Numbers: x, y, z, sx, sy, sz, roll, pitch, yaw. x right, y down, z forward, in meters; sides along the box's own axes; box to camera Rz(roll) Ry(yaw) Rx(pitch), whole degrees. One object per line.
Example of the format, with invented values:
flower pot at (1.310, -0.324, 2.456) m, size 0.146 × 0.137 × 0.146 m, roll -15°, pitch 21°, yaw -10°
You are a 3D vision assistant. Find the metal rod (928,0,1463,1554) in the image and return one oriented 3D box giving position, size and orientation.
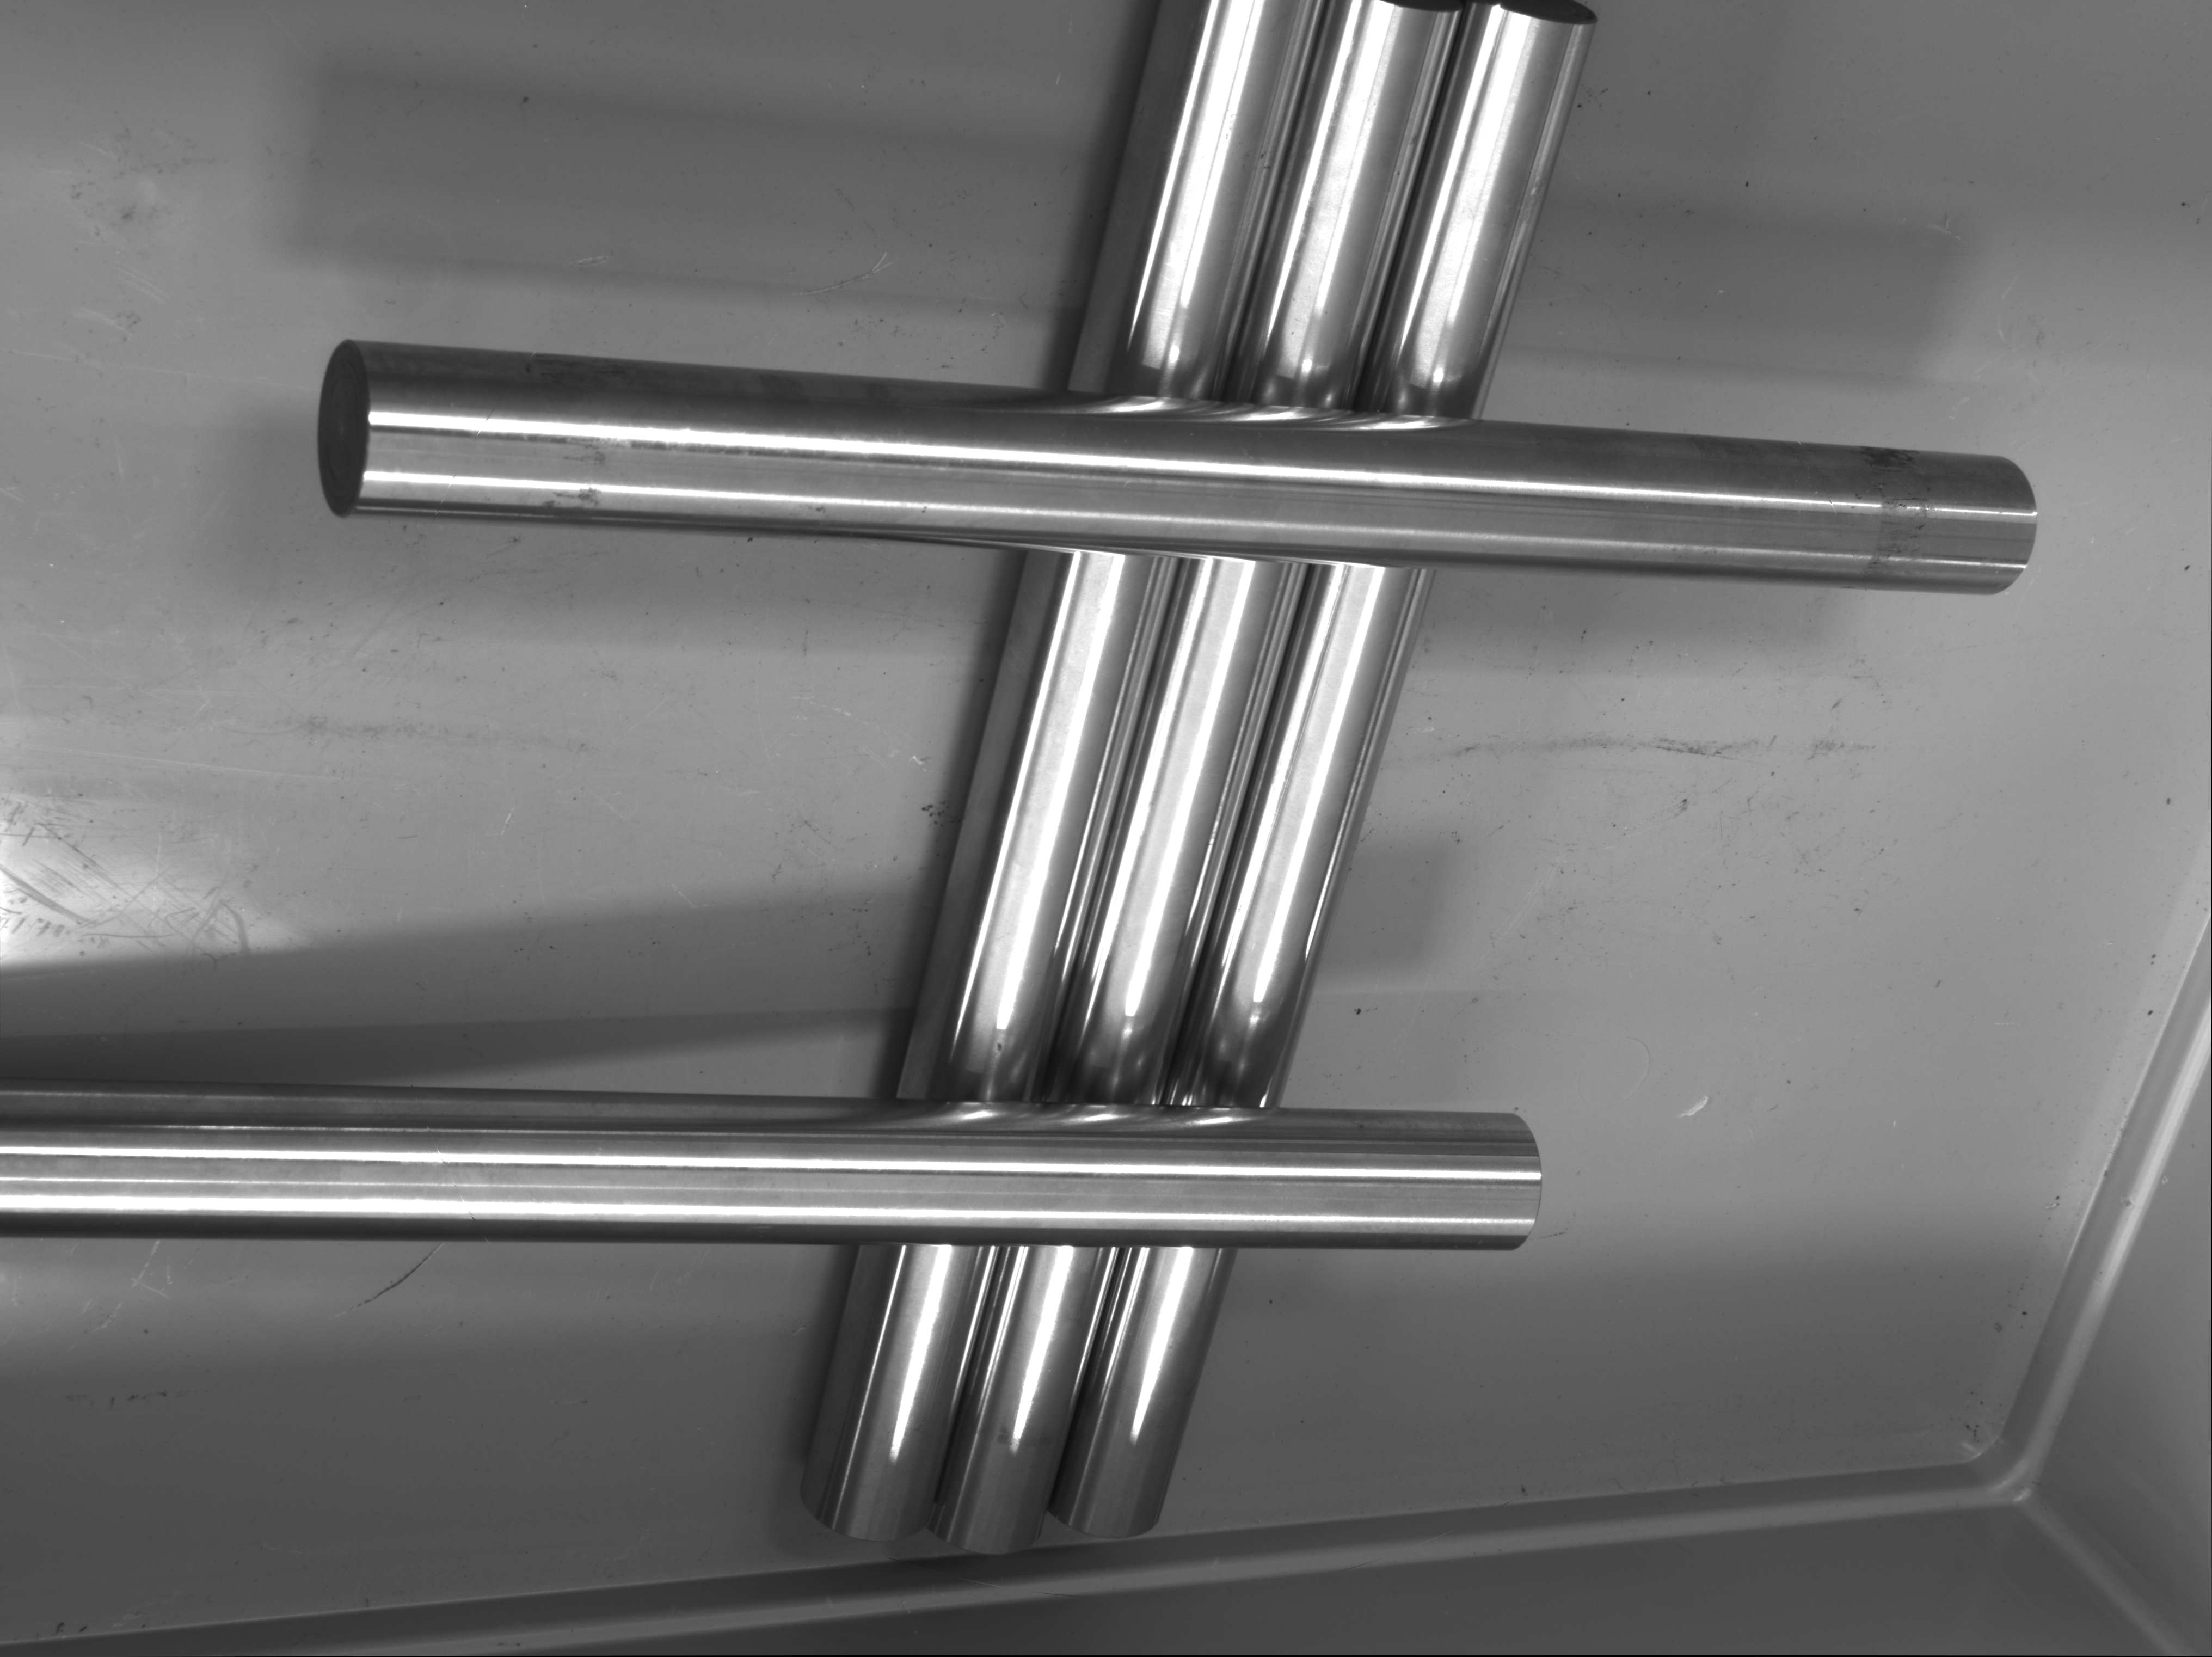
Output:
metal rod at (0.010, -0.001, 0.641) m, size 0.025 × 0.025 × 0.300 m, roll 1°, pitch 118°, yaw -28°

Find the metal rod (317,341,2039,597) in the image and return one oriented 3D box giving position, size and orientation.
metal rod at (0.026, -0.055, 0.584) m, size 0.301 × 0.025 × 0.025 m, roll 0°, pitch 118°, yaw -28°

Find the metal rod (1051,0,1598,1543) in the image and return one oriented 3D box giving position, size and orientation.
metal rod at (0.032, -0.001, 0.652) m, size 0.025 × 0.025 × 0.300 m, roll 1°, pitch 118°, yaw -28°

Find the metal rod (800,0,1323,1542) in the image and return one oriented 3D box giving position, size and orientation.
metal rod at (-0.011, -0.006, 0.627) m, size 0.025 × 0.025 × 0.300 m, roll 0°, pitch 118°, yaw -28°

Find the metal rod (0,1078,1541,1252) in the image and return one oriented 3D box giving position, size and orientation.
metal rod at (-0.066, 0.057, 0.612) m, size 0.301 × 0.025 × 0.025 m, roll 3°, pitch 117°, yaw -22°
